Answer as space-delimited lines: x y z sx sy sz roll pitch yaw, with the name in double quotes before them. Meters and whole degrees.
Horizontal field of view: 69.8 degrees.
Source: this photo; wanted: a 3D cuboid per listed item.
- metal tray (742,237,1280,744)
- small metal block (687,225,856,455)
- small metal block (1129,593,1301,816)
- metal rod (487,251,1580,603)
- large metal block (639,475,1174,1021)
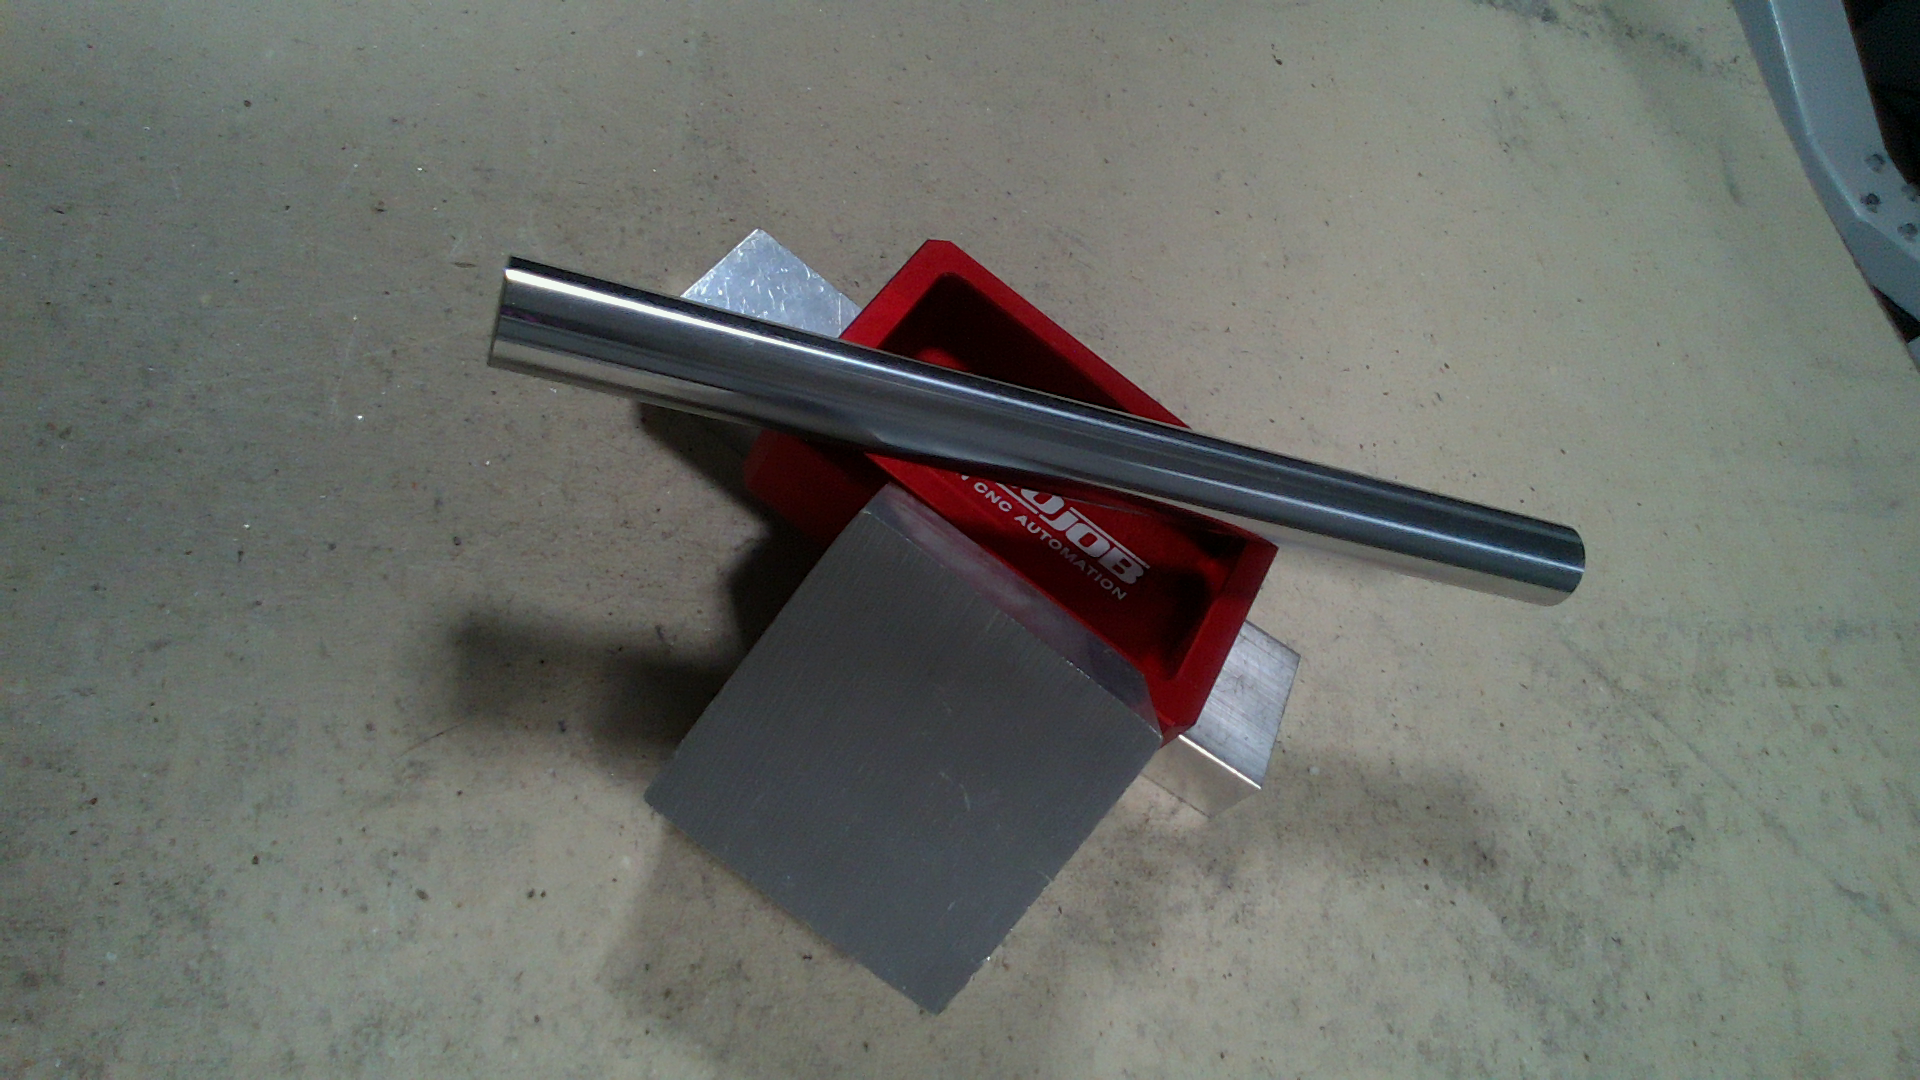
"metal tray" 0.019 -0.013 0.371 0.130 0.030 0.090 38 51 -3
"small metal block" -0.056 -0.054 0.393 0.050 0.025 0.050 38 51 -2
"small metal block" 0.066 0.043 0.399 0.050 0.025 0.050 33 51 -6
"metal rod" 0.037 -0.022 0.352 0.301 0.025 0.025 12 57 -22
"large metal block" -0.010 0.044 0.311 0.080 0.080 0.050 37 9 -3
